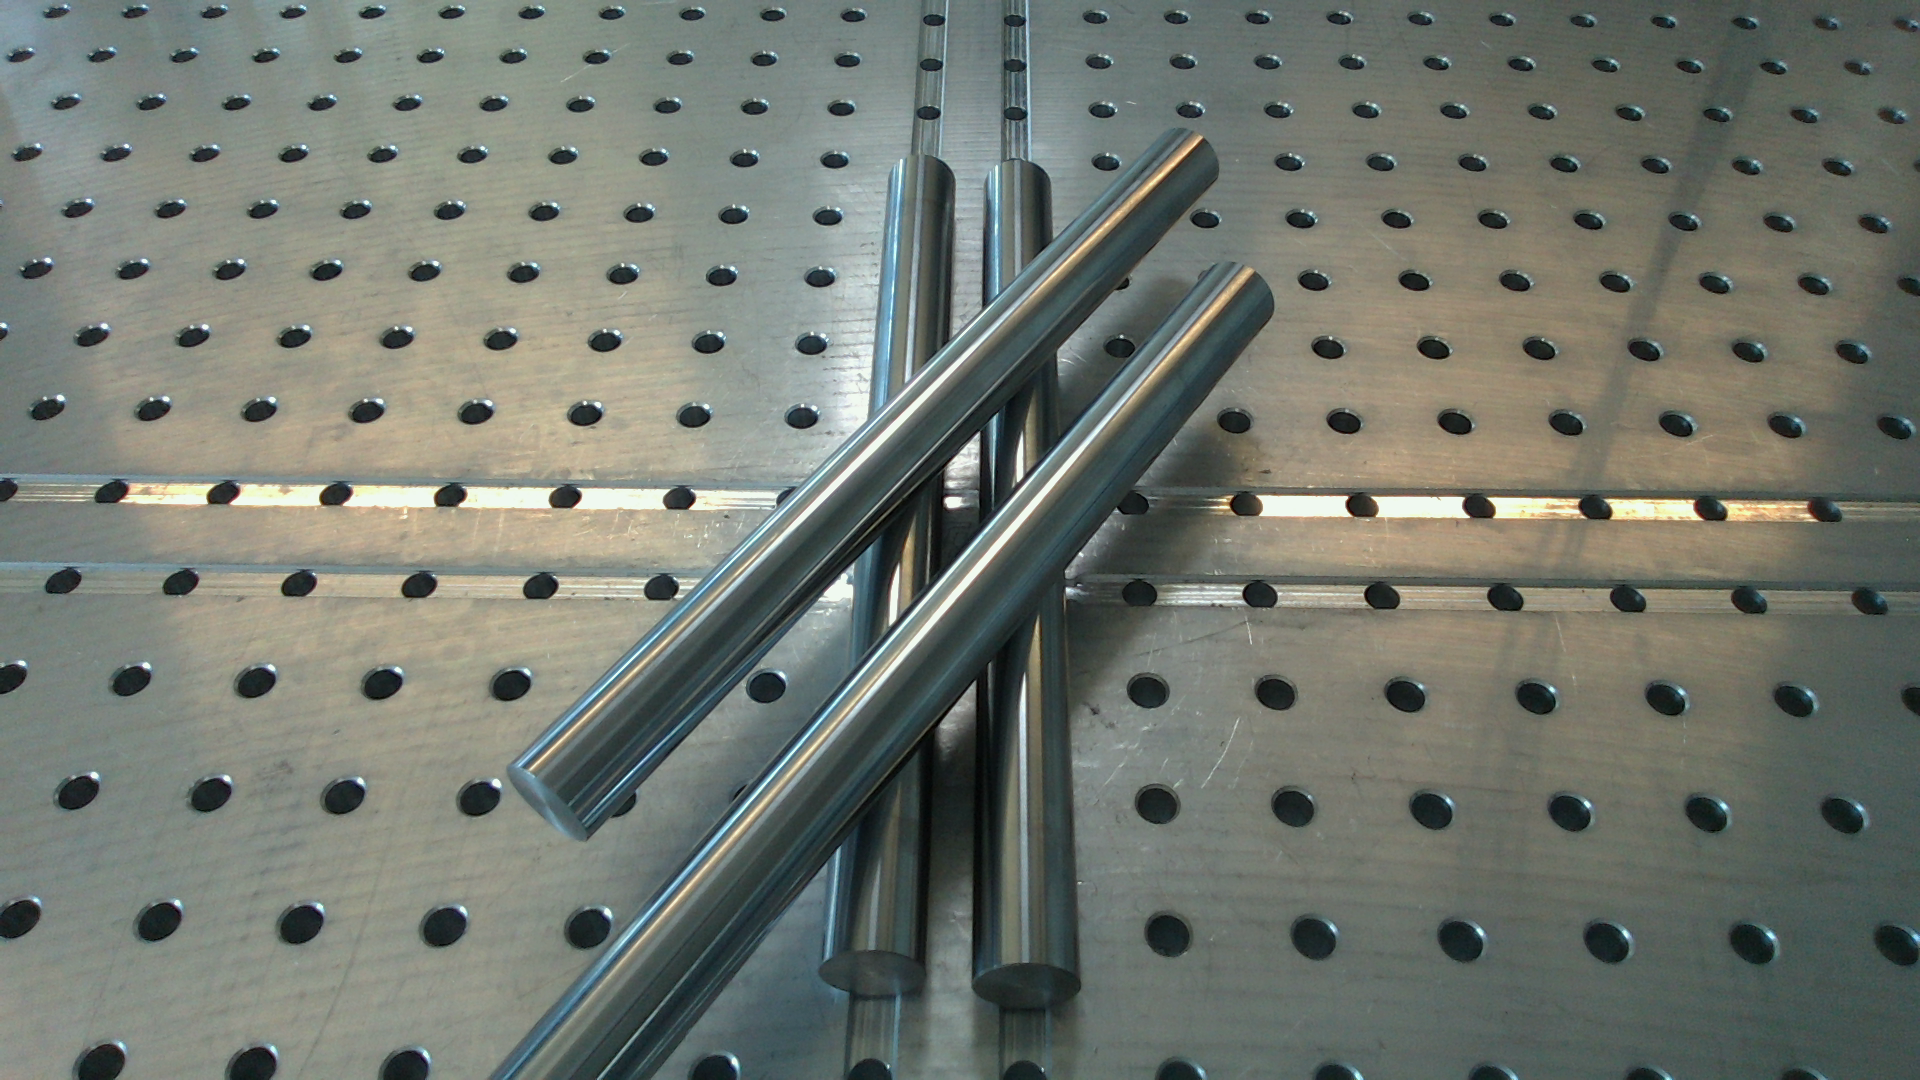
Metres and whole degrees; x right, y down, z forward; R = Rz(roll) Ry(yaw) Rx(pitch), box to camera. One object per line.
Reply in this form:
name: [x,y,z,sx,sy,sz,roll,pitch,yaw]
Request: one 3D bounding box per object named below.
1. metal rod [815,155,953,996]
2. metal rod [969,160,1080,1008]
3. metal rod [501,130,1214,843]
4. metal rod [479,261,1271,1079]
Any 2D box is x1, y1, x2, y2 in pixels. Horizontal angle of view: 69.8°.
metal rod: [-0.018,-0.016,0.409,0.025,0.025,0.300,1,50,1]
metal rod: [0.017,-0.014,0.407,0.025,0.025,0.300,1,50,1]
metal rod: [-0.009,-0.035,0.392,0.025,0.025,0.301,28,55,22]
metal rod: [0.000,0.019,0.345,0.025,0.025,0.301,28,55,21]
